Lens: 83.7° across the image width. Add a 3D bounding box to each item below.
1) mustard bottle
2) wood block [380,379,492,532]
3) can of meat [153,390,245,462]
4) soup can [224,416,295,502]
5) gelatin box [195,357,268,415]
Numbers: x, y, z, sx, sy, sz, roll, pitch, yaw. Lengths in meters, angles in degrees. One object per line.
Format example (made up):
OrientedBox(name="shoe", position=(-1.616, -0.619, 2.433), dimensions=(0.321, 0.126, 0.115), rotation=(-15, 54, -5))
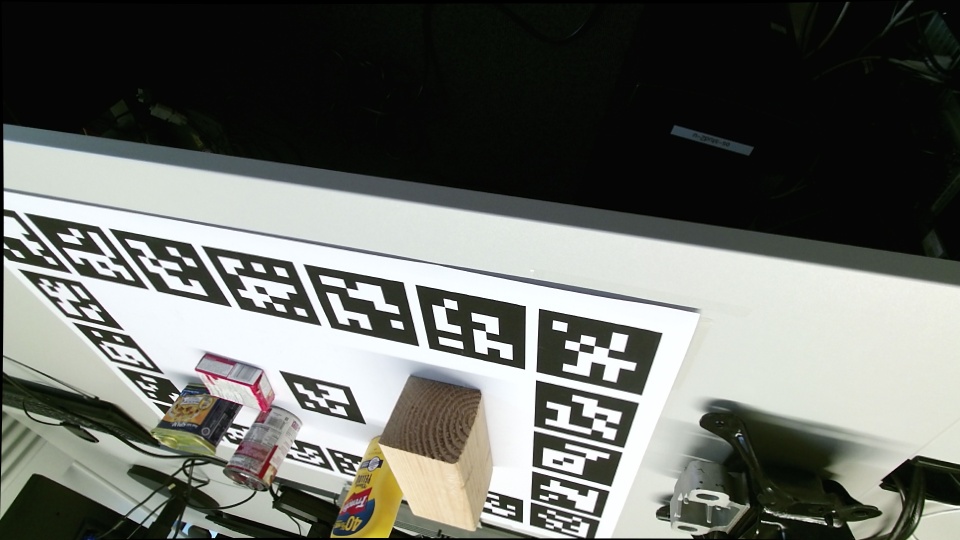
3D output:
OrientedBox(name="mustard bottle", position=(-0.146, 0.318, 0.705), dimensions=(0.096, 0.191, 0.058), rotation=(-10, 130, 33))
OrientedBox(name="wood block", position=(-0.045, 0.228, 0.638), dimensions=(0.091, 0.089, 0.206), rotation=(11, 141, 14))
OrientedBox(name="can of meat", position=(-0.413, 0.228, 0.796), dimensions=(0.102, 0.083, 0.058), rotation=(0, 133, 26))
OrientedBox(name="soup can", position=(-0.323, 0.272, 0.777), dimensions=(0.068, 0.101, 0.068), rotation=(11, 135, 11))
OrientedBox(name="gelatin box", position=(-0.339, 0.159, 0.726), dimensions=(0.089, 0.030, 0.073), rotation=(15, 136, 4))
